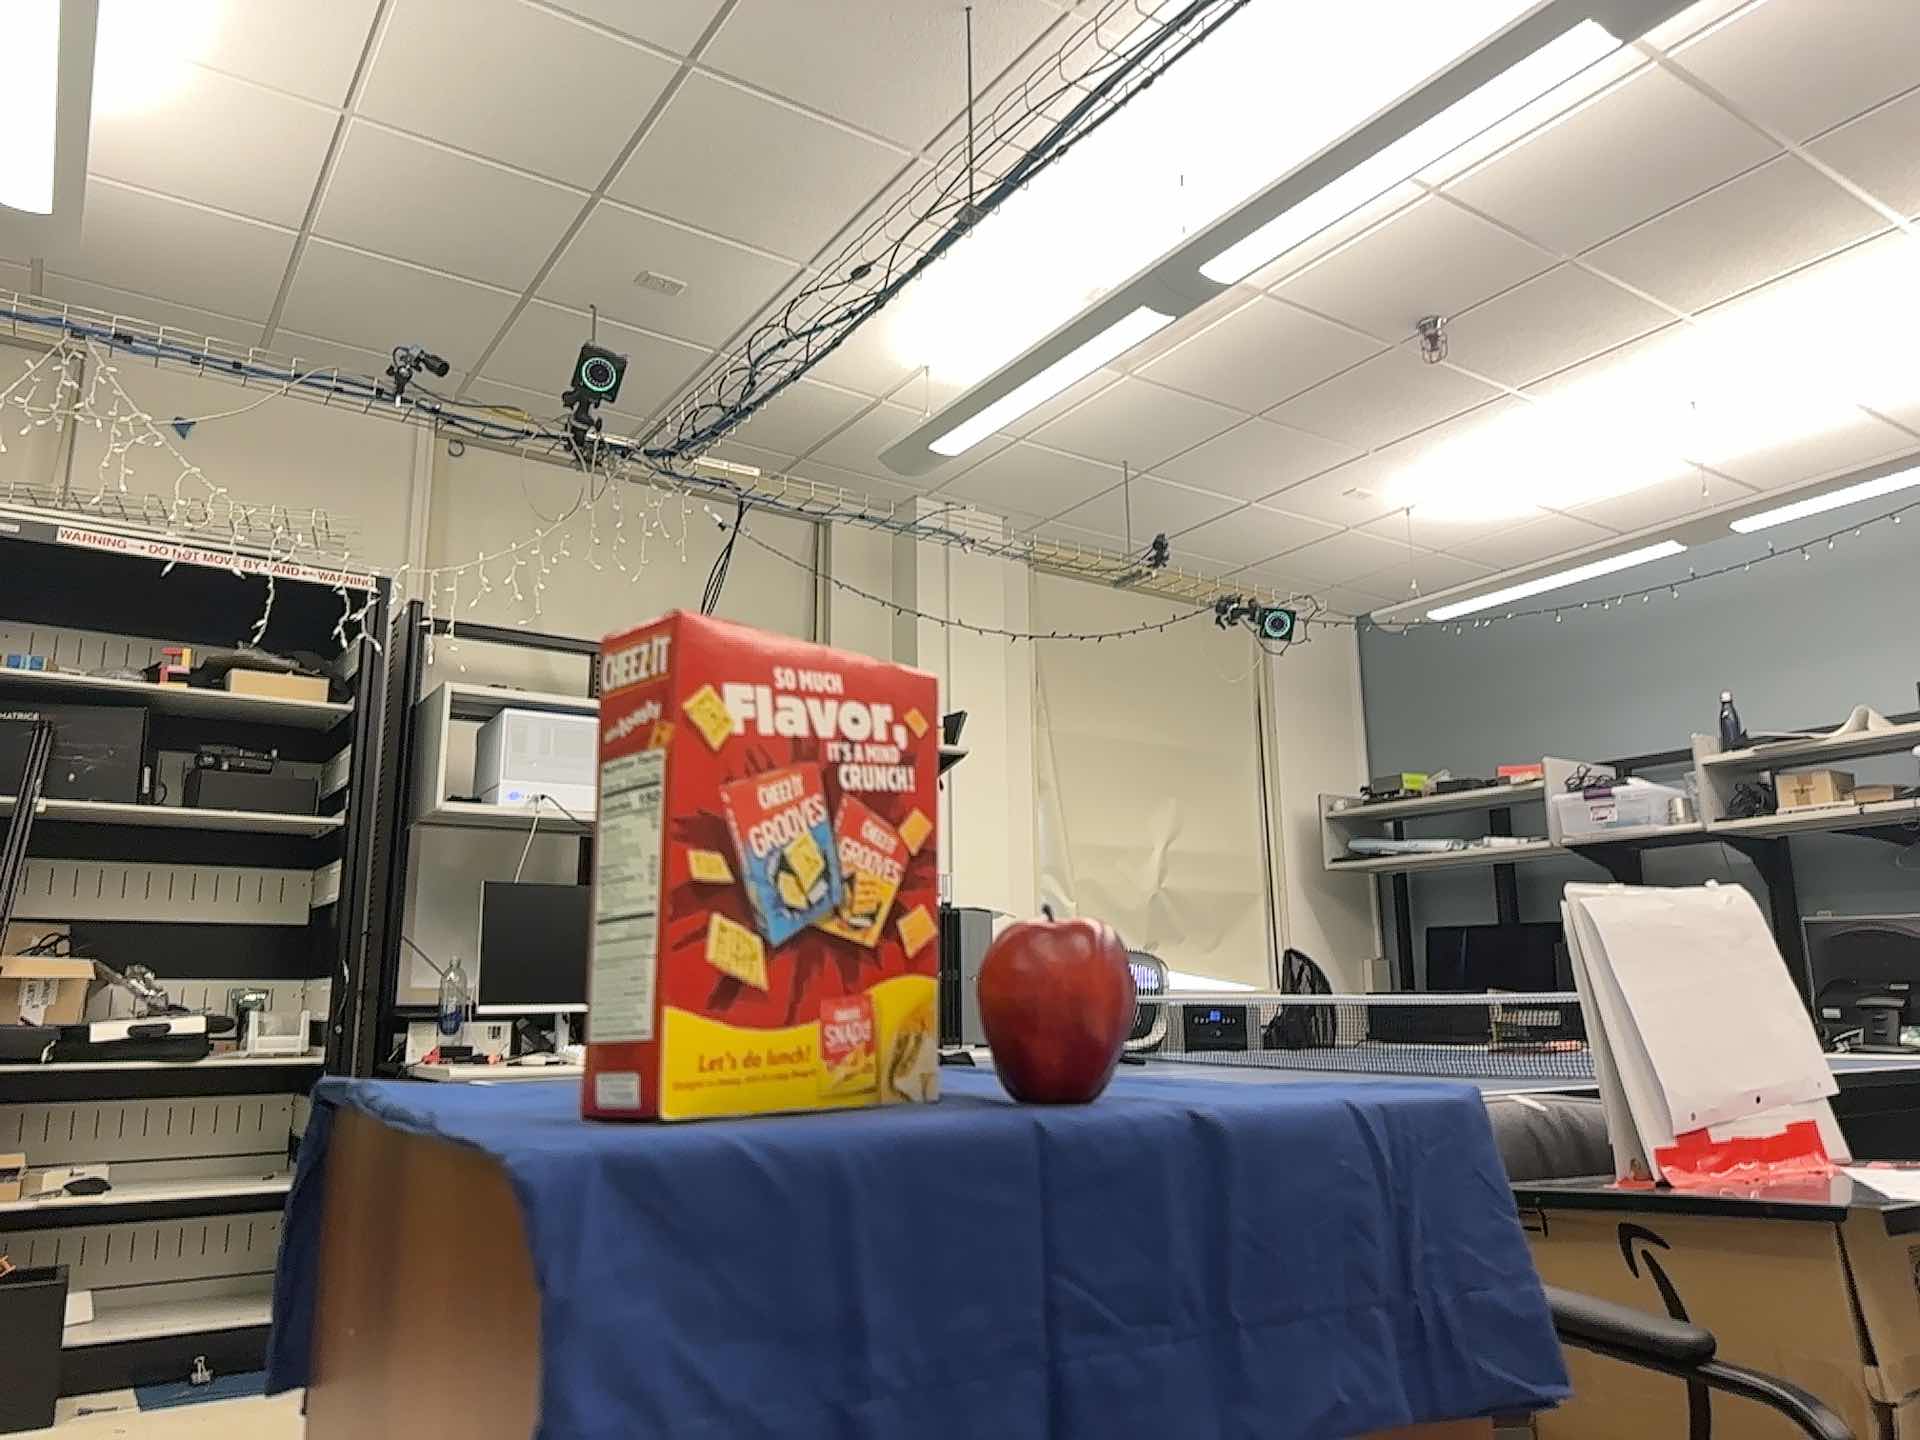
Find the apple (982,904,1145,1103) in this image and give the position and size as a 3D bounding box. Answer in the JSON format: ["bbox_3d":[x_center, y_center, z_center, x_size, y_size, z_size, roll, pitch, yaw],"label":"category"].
[{"bbox_3d":[0.050,0.136,0.652,0.079,0.093,0.079,0,-9,0],"label":"apple"}]

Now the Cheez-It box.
[{"bbox_3d":[-0.084,0.070,0.628,0.062,0.214,0.159,-9,-15,40],"label":"Cheez-It box"}]
